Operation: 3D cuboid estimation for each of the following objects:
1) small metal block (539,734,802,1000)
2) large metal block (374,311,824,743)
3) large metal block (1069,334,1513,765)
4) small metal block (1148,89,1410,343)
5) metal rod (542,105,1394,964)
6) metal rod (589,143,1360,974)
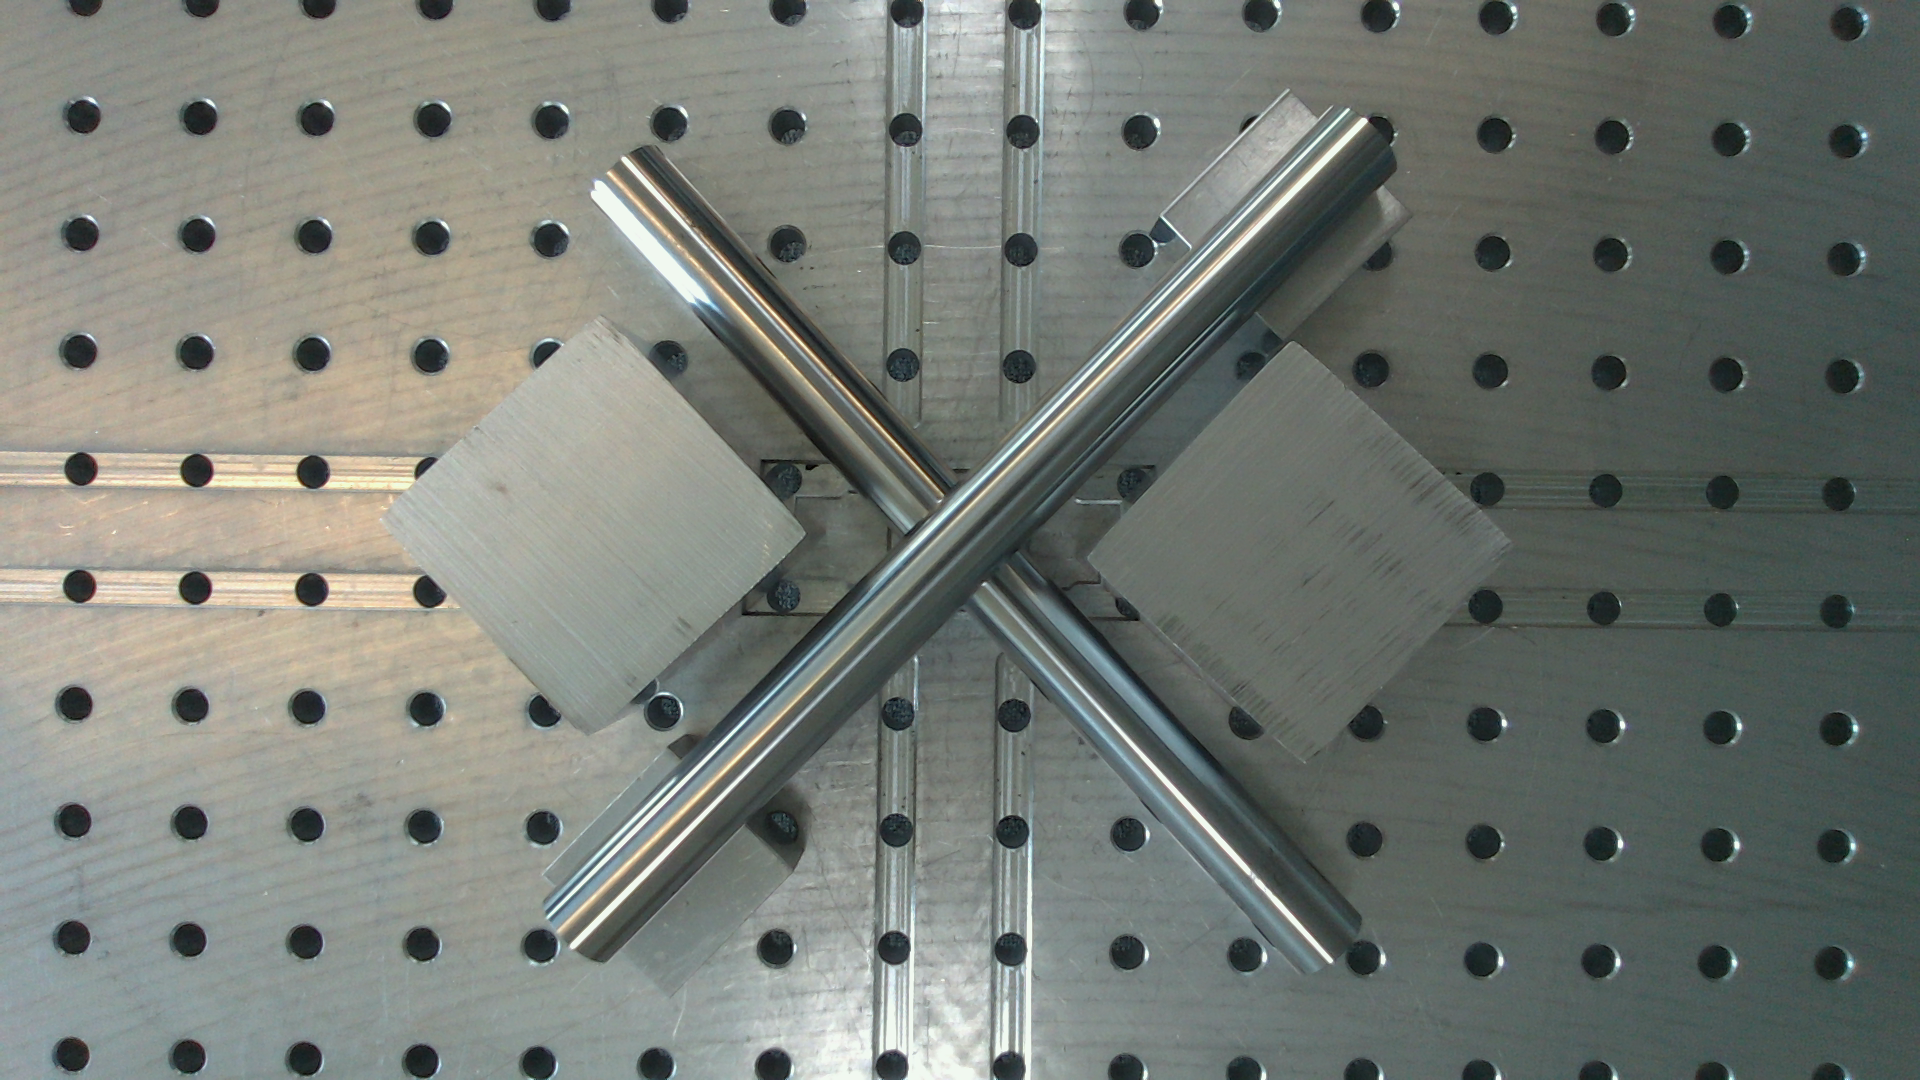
[{"bbox_3d":[-0.082,0.093,0.398,0.050,0.025,0.050,45,90,0],"label":"small metal block"},{"bbox_3d":[-0.097,-0.003,0.385,0.080,0.050,0.080,-43,90,0],"label":"large metal block"},{"bbox_3d":[0.089,0.002,0.386,0.080,0.050,0.080,43,90,0],"label":"large metal block"},{"bbox_3d":[0.091,-0.091,0.398,0.050,0.025,0.050,-44,90,0],"label":"small metal block"},{"bbox_3d":[0.002,-0.001,0.372,0.025,0.025,0.300,45,90,0],"label":"metal rod"},{"bbox_3d":[0.005,0.005,0.397,0.025,0.025,0.300,-43,90,0],"label":"metal rod"}]
